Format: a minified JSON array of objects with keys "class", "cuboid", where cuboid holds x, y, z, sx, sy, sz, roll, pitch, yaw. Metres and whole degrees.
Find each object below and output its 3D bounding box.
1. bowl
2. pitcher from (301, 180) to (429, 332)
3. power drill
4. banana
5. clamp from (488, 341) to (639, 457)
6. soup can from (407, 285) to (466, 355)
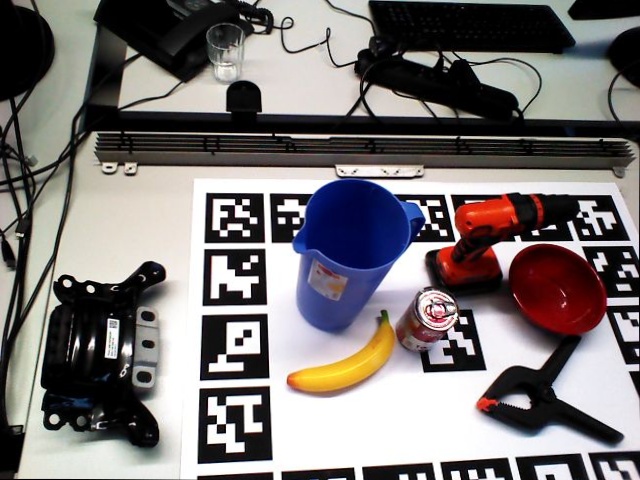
[{"class":"bowl","cuboid":[0.392,0.093,0.823,0.162,0.055,0.161,2,62,-5]},{"class":"pitcher","cuboid":[0.055,0.028,0.713,0.188,0.244,0.133,-22,63,-18]},{"class":"power drill","cuboid":[0.289,0.001,0.766,0.184,0.188,0.057,-4,62,-10]},{"class":"banana","cuboid":[0.048,0.177,0.750,0.196,0.039,0.074,-23,57,-20]},{"class":"clamp","cuboid":[0.343,0.232,0.743,0.203,0.037,0.164,-2,65,-8]},{"class":"soup can","cuboid":[0.171,0.117,0.759,0.068,0.102,0.067,3,52,-4]}]
